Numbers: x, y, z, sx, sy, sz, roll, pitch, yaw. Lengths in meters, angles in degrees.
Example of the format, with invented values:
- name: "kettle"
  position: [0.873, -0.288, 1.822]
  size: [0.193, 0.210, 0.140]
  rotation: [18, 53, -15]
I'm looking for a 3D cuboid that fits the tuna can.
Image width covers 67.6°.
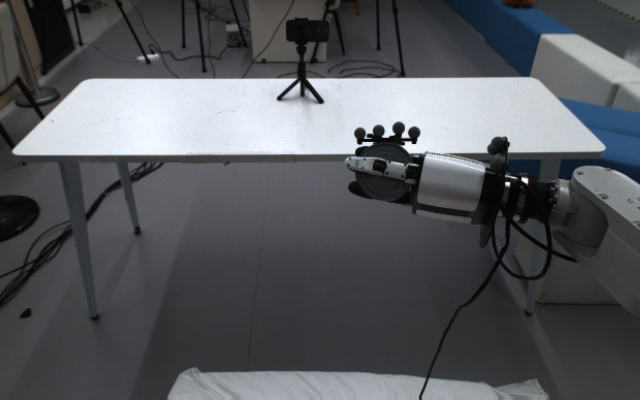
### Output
- name: "tuna can"
  position: [0.098, -0.037, 0.708]
  size: [0.085, 0.085, 0.034]
  rotation: [13, -3, 15]
